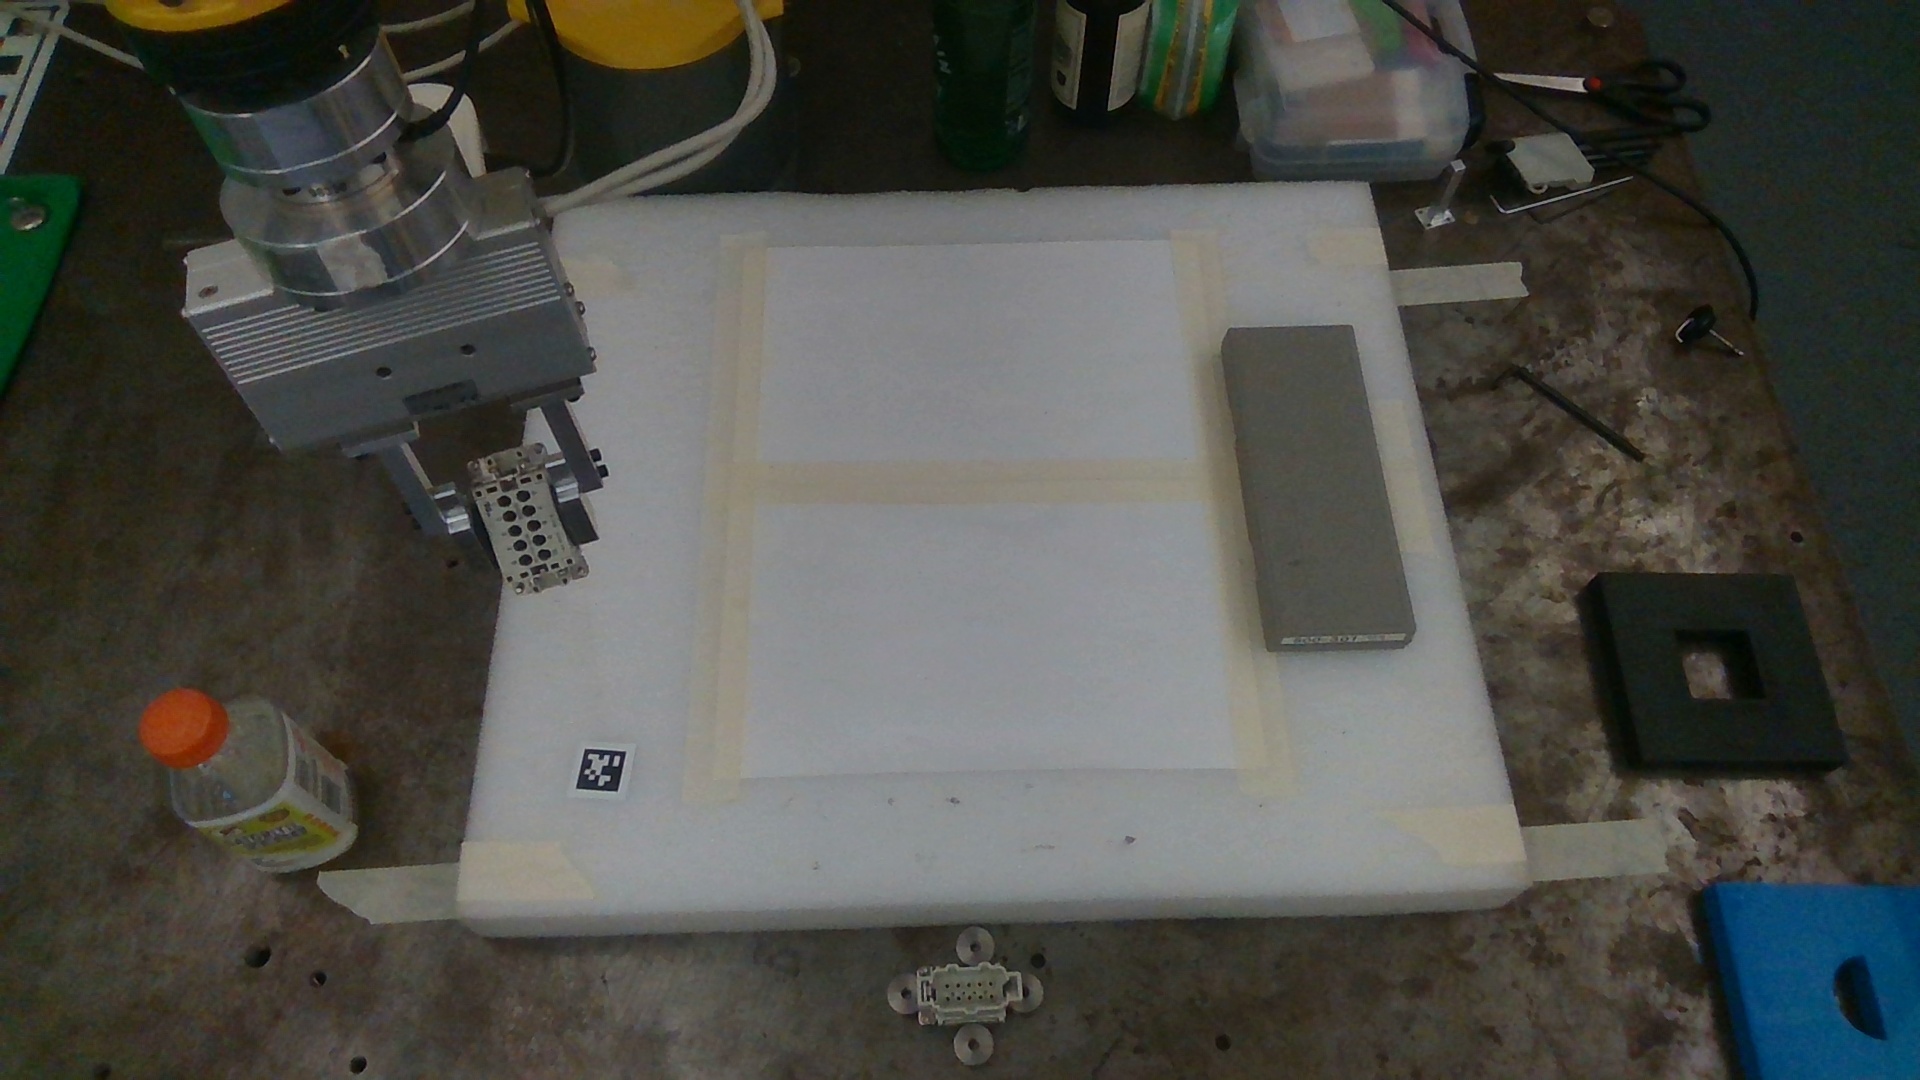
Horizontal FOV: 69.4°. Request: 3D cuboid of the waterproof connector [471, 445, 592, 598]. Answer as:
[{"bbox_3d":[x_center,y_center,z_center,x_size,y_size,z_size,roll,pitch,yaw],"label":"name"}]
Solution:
[{"bbox_3d":[-0.194,-0.008,0.631,0.037,0.038,0.069,-16,107,-2],"label":"waterproof connector"}]
